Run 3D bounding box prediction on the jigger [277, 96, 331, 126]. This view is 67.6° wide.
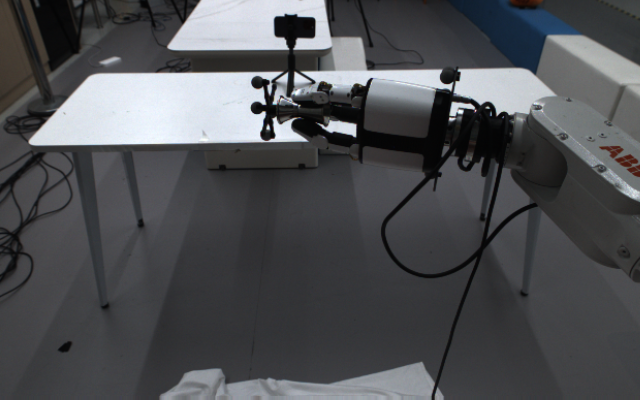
[{"bbox_3d":[-0.016,-0.129,0.678,0.071,0.043,0.043,3,34,13],"label":"jigger"}]
